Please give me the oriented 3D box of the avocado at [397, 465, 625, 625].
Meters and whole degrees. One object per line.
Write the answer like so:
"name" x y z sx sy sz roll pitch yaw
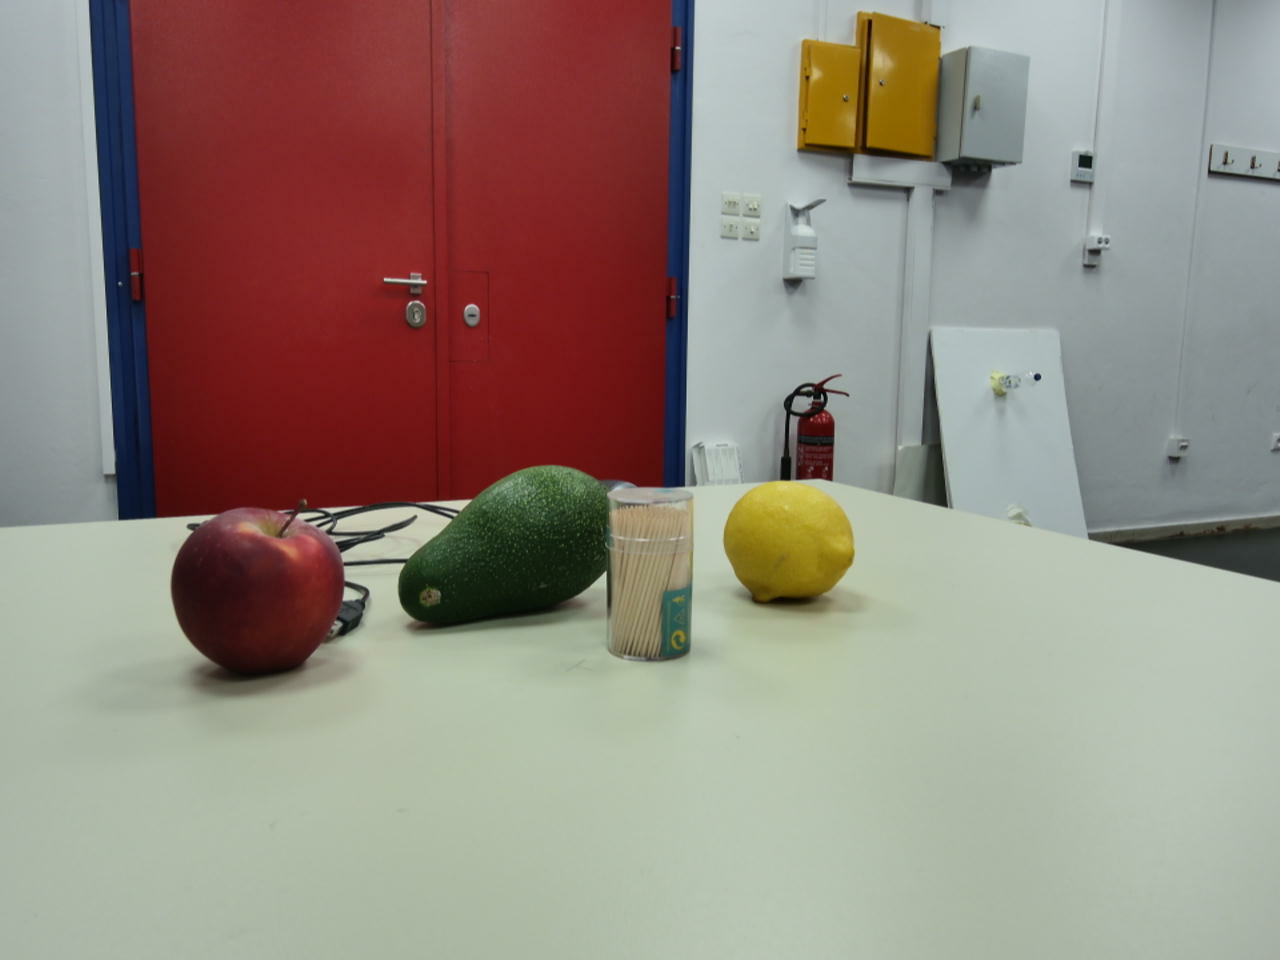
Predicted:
"avocado" -0.067 0.030 0.524 0.123 0.076 0.074 -2 7 -19
